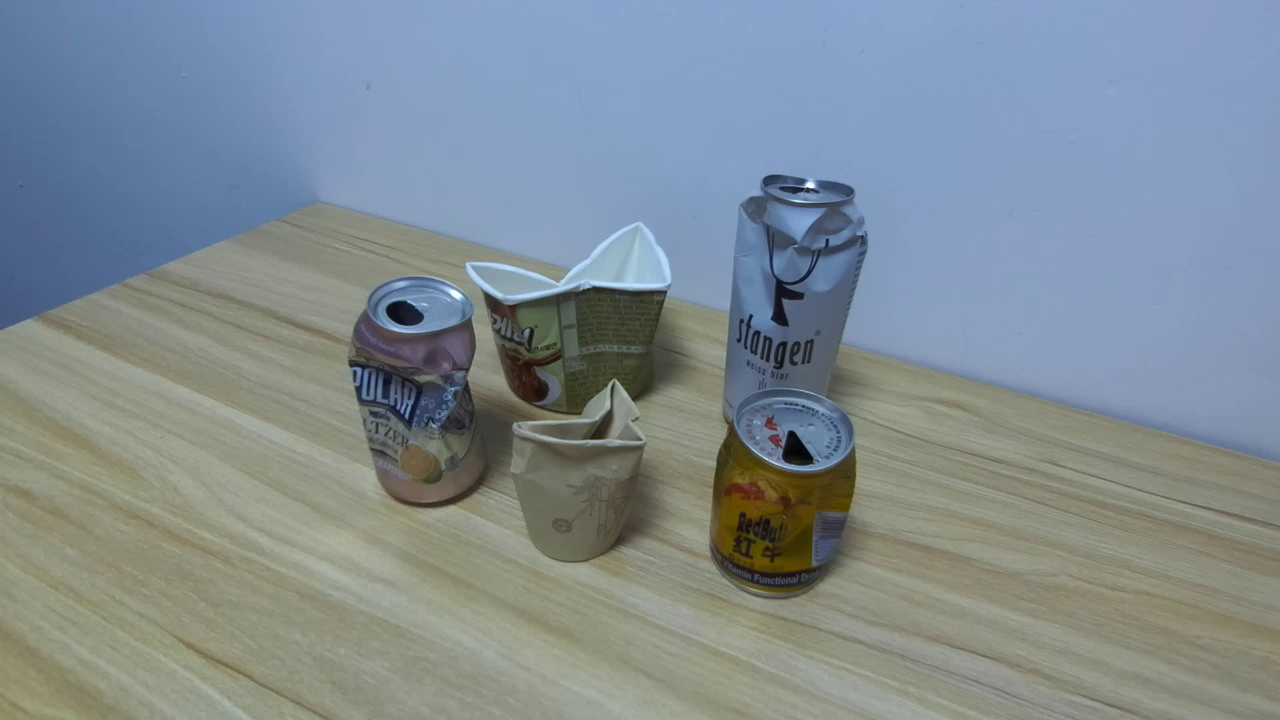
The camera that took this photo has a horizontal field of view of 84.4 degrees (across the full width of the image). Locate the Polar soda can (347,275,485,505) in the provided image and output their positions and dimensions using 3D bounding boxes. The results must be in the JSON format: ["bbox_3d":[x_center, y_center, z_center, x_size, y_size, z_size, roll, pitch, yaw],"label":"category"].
[{"bbox_3d":[-0.119,0.020,0.401,0.070,0.122,0.067,26,36,29],"label":"Polar soda can"}]

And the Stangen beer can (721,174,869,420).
[{"bbox_3d":[0.092,-0.028,0.438,0.066,0.166,0.065,-12,35,-22],"label":"Stangen beer can"}]

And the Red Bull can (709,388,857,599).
[{"bbox_3d":[0.071,0.067,0.362,0.072,0.092,0.072,2,36,-1],"label":"Red Bull can"}]

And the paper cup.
[{"bbox_3d":[-0.033,0.058,0.379,0.066,0.083,0.058,1,33,-3],"label":"paper cup"}]

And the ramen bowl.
[{"bbox_3d":[-0.049,-0.031,0.496,0.128,0.093,0.111,-7,37,-12],"label":"ramen bowl"}]
